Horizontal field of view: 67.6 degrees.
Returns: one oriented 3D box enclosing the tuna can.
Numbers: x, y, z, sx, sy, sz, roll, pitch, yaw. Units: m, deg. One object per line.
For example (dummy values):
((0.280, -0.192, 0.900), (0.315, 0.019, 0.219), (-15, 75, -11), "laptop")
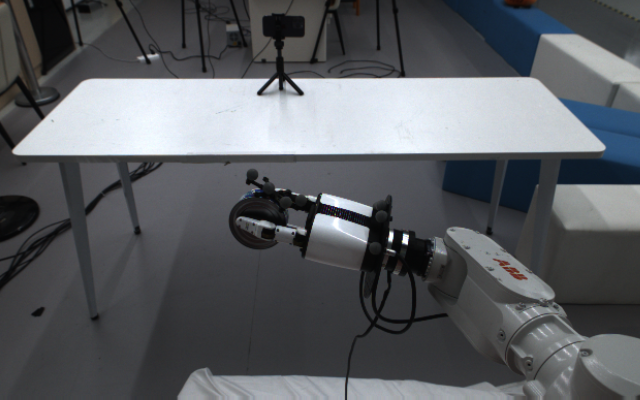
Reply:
((-0.090, 0.030, 0.726), (0.085, 0.085, 0.034), (4, 20, 3), "tuna can")
